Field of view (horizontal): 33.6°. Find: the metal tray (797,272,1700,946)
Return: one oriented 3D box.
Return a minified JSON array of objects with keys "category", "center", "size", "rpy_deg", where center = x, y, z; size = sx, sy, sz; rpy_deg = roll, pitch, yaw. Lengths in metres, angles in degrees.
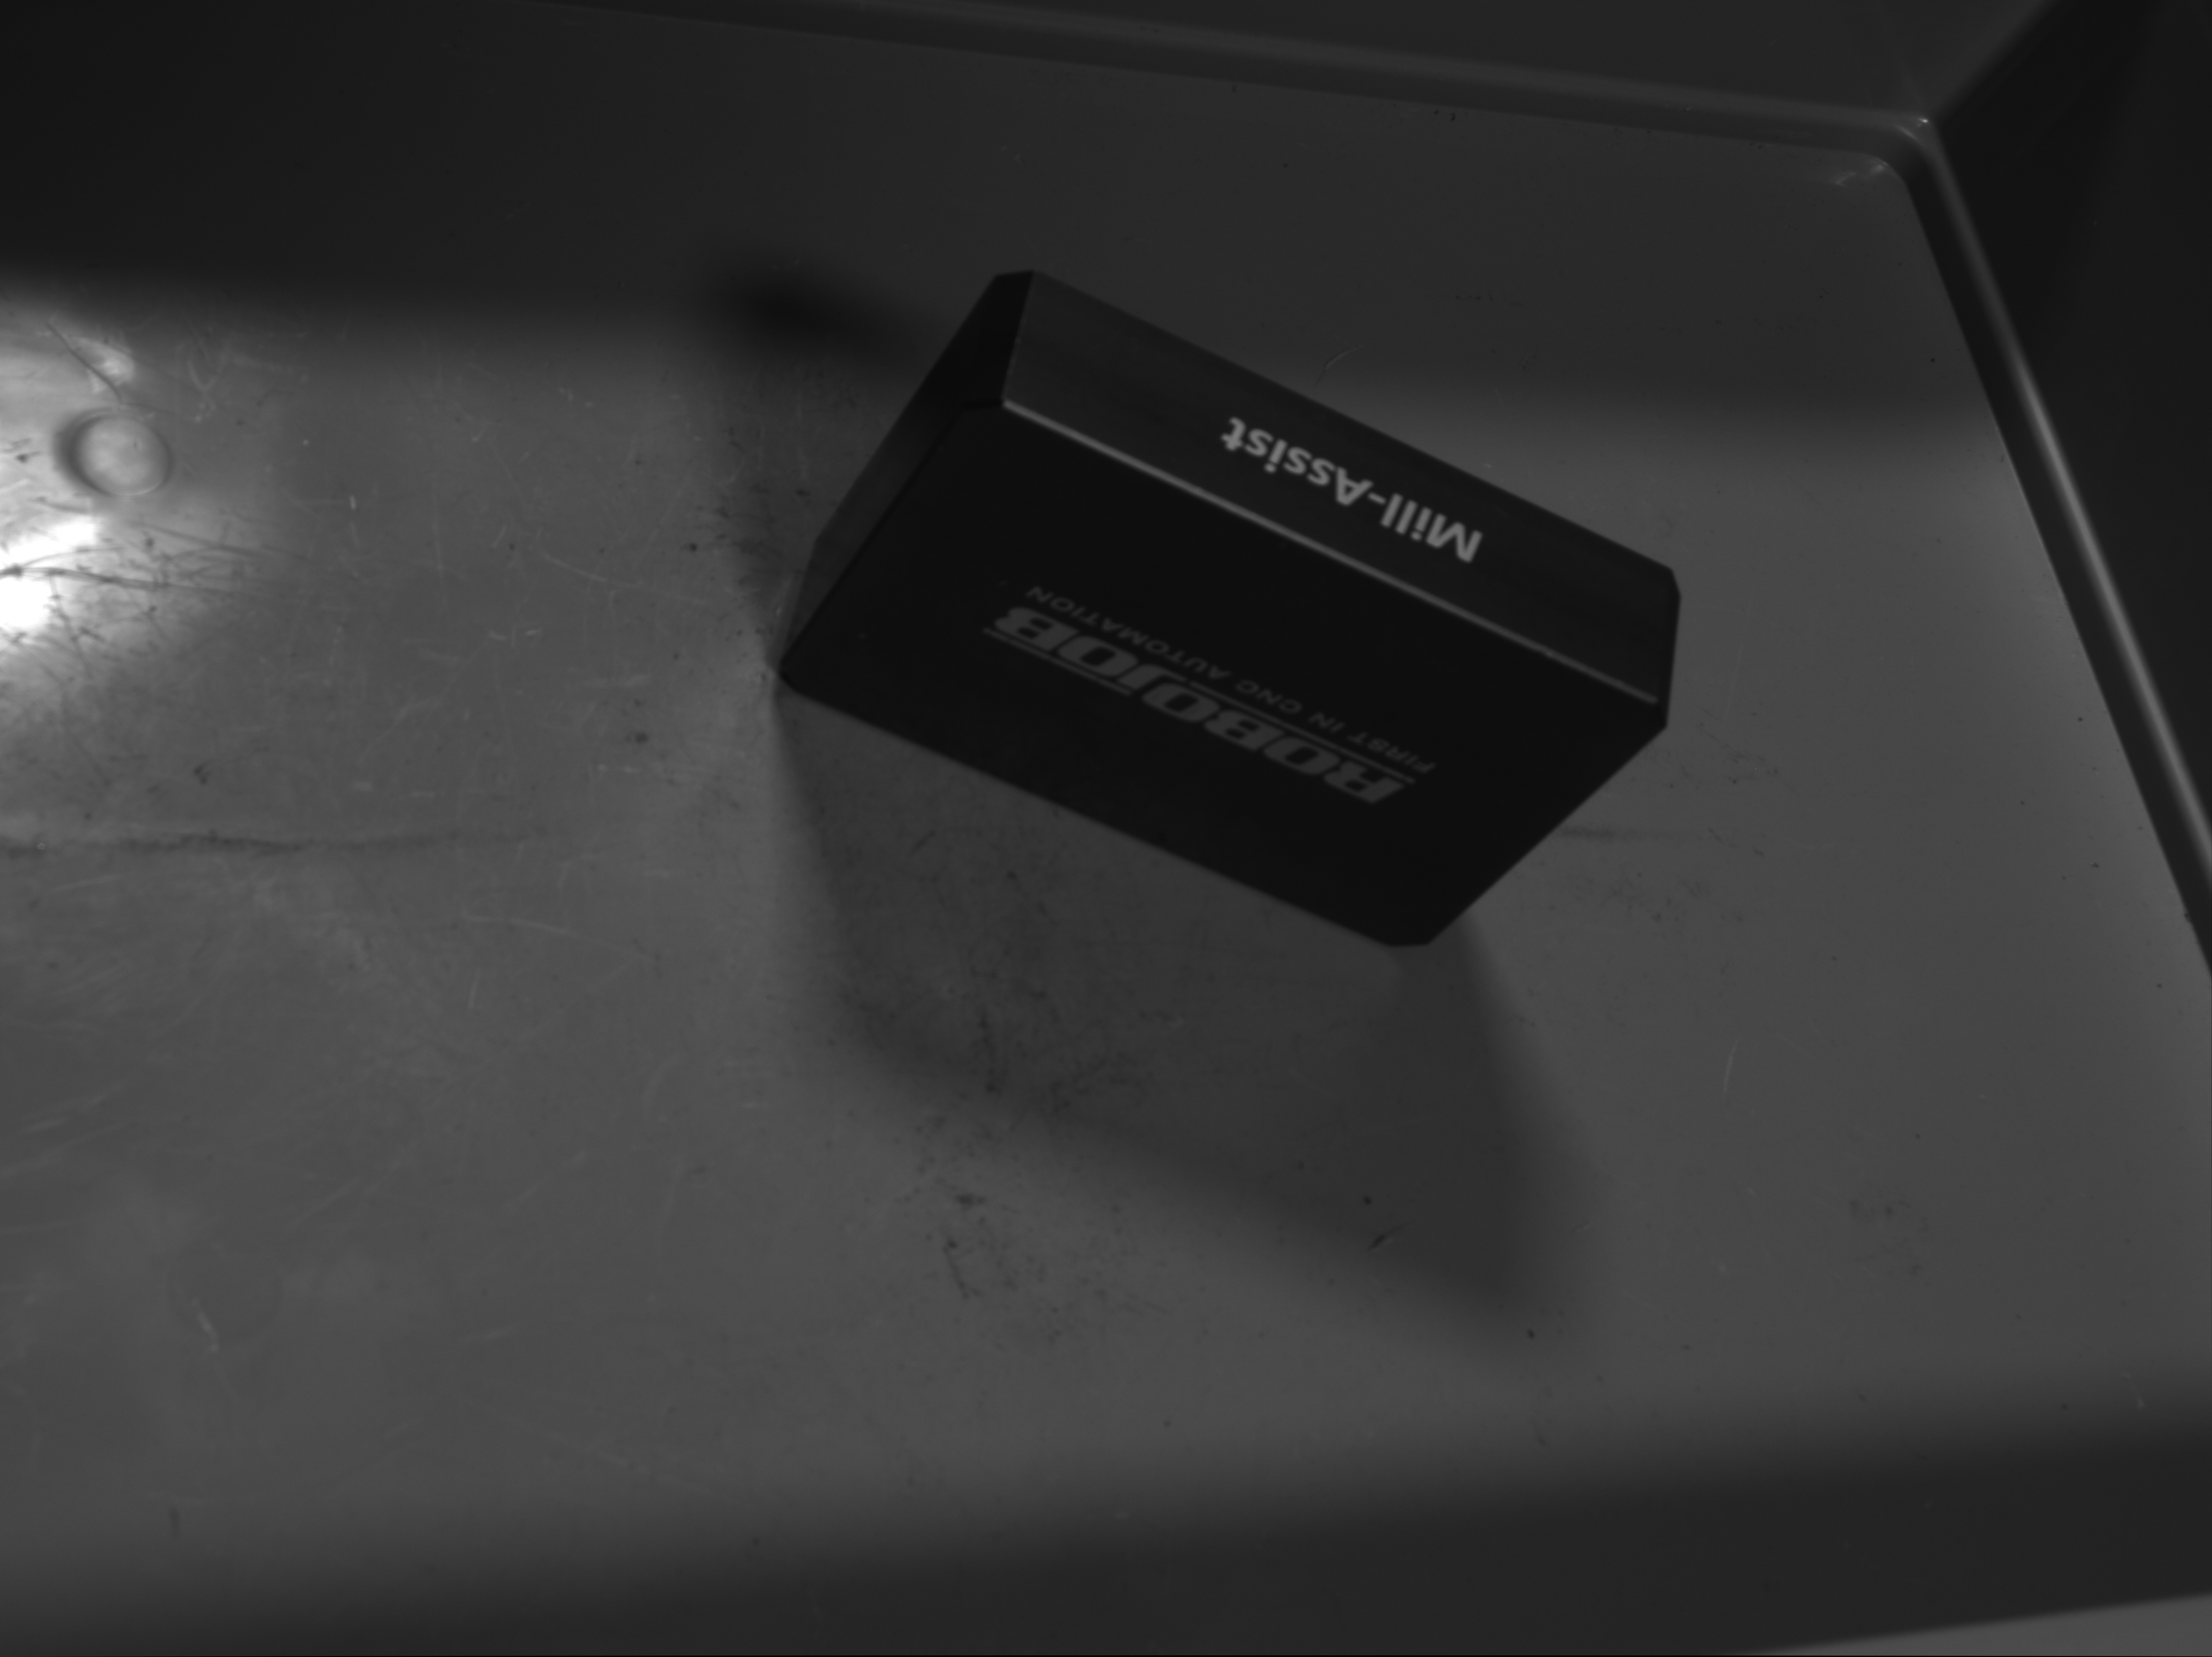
[{"category":"metal tray","center":[0.024,-0.034,0.628],"size":[0.130,0.090,0.030],"rpy_deg":[23,53,-15]}]
